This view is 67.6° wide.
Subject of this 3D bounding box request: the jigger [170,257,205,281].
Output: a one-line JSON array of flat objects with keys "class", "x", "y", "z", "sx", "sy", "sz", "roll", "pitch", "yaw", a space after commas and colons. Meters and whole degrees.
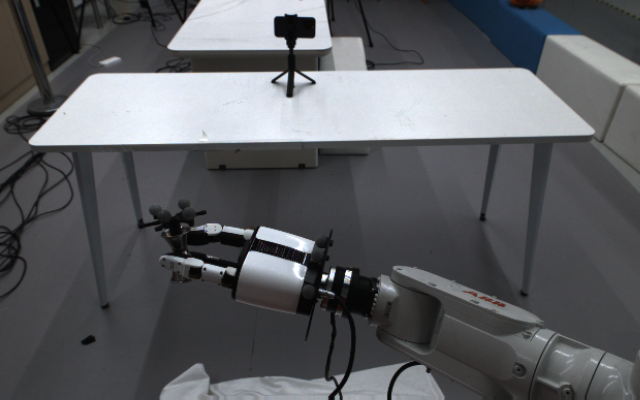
[{"class": "jigger", "x": -0.189, "y": 0.074, "z": 0.669, "sx": 0.043, "sy": 0.071, "sz": 0.043, "roll": -9, "pitch": 16, "yaw": 2}]
